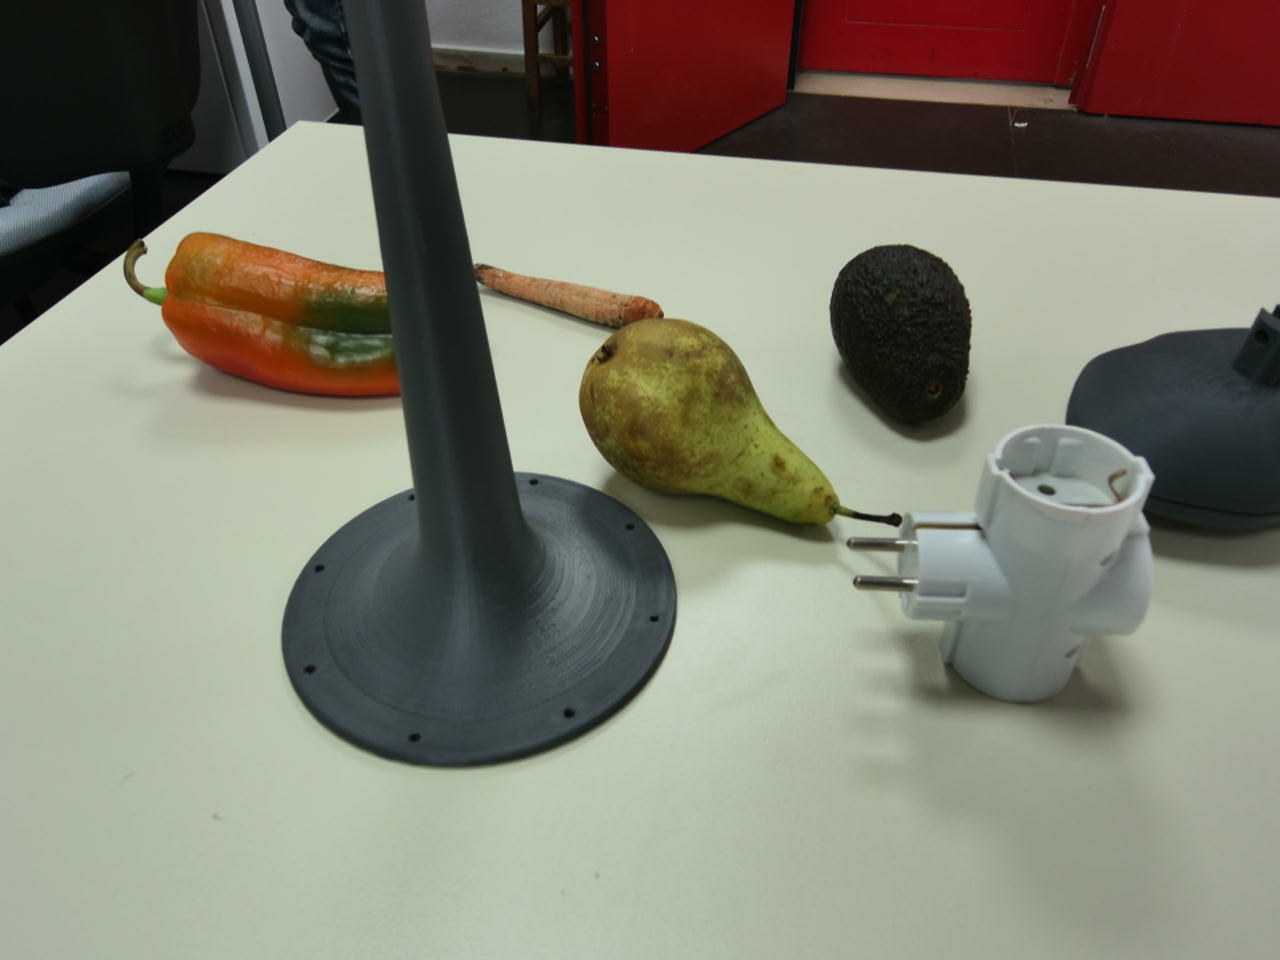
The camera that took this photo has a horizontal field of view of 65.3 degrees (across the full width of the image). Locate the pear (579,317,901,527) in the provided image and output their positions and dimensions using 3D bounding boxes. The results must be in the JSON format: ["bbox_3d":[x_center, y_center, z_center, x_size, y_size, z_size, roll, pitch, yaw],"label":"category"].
[{"bbox_3d":[0.044,-0.025,0.422,0.144,0.075,0.071,13,40,16],"label":"pear"}]
